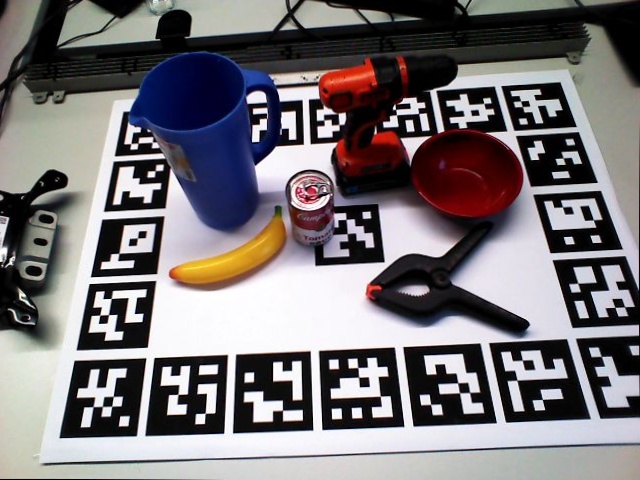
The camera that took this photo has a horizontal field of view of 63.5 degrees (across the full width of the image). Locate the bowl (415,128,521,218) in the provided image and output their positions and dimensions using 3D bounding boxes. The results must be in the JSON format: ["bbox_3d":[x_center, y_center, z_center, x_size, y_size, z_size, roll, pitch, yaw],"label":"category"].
[{"bbox_3d":[0.219,-0.090,0.758,0.162,0.055,0.161,-2,63,4],"label":"bowl"}]

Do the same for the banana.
[{"bbox_3d":[-0.126,0.021,0.740,0.197,0.039,0.074,-26,54,-11],"label":"banana"}]

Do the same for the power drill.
[{"bbox_3d":[0.102,-0.173,0.717,0.185,0.187,0.057,-8,61,-1],"label":"power drill"}]

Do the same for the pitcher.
[{"bbox_3d":[-0.135,-0.128,0.702,0.188,0.243,0.133,-26,59,-10],"label":"pitcher"}]

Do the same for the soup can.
[{"bbox_3d":[-0.007,-0.049,0.730,0.068,0.102,0.067,-3,53,4],"label":"soup can"}]

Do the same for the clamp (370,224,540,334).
[{"bbox_3d":[0.168,0.054,0.688,0.203,0.037,0.164,-7,65,1],"label":"clamp"}]
